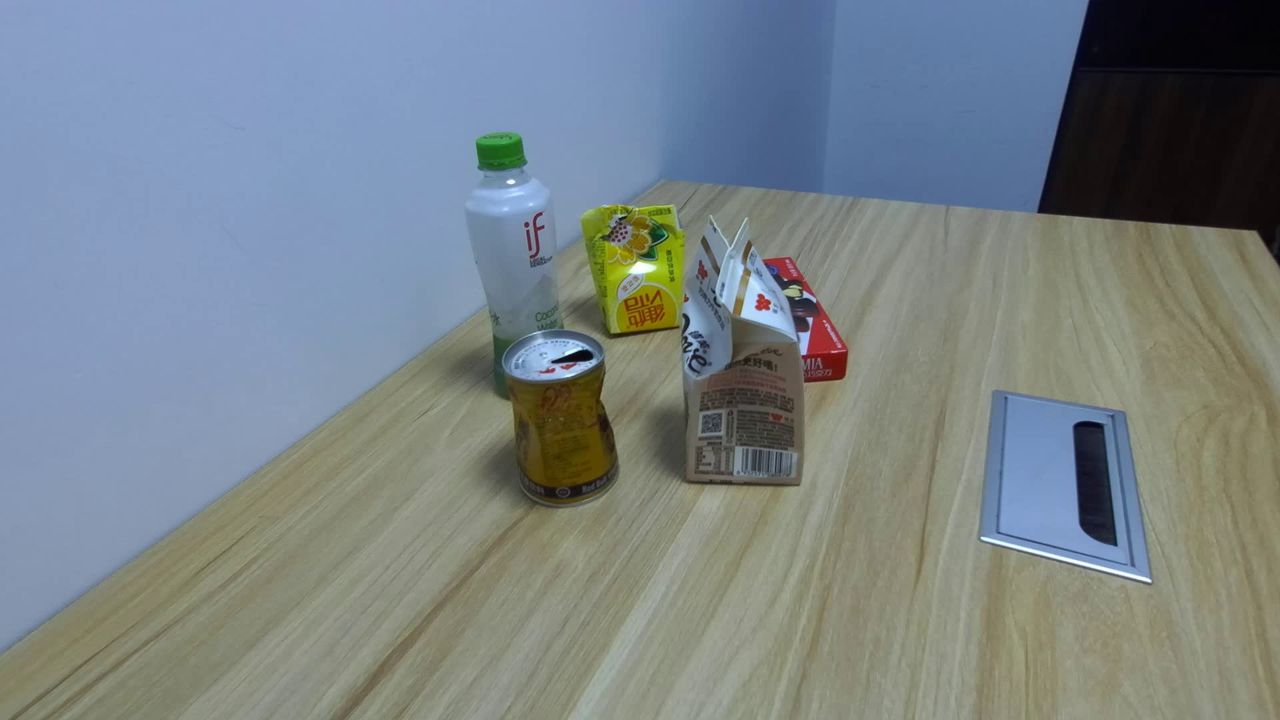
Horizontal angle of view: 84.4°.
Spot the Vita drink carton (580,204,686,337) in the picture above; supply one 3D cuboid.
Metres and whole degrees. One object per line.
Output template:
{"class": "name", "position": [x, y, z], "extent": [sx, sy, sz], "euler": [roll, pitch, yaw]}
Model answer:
{"class": "Vita drink carton", "position": [-0.004, -0.081, 0.611], "extent": [0.087, 0.108, 0.042], "euler": [-6, 16, -9]}

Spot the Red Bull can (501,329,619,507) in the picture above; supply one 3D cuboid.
{"class": "Red Bull can", "position": [-0.047, 0.035, 0.436], "extent": [0.072, 0.092, 0.072], "euler": [-2, 31, 2]}

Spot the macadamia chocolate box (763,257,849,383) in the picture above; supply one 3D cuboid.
{"class": "macadamia chocolate box", "position": [0.105, -0.037, 0.603], "extent": [0.095, 0.027, 0.177], "euler": [-5, 32, 0]}

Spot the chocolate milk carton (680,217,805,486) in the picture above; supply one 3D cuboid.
{"class": "chocolate milk carton", "position": [0.063, -0.006, 0.429], "extent": [0.073, 0.156, 0.076], "euler": [0, 32, 8]}

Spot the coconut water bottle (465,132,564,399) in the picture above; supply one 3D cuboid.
{"class": "coconut water bottle", "position": [-0.087, -0.063, 0.509], "extent": [0.063, 0.189, 0.063], "euler": [-4, 27, 2]}
